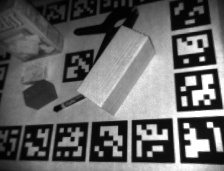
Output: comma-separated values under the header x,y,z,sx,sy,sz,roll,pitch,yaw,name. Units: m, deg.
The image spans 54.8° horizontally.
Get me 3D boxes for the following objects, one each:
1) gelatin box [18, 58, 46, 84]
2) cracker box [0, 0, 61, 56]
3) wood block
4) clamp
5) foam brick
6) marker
x,y,z,sx,sy,sz,roll,pitch,yaw,name
-0.261,-0.047,0.704,0.088,0.030,0.073,-6,73,20,gelatin box
-0.280,-0.172,0.641,0.163,0.216,0.072,-8,69,18,cracker box
-0.003,-0.033,0.565,0.089,0.092,0.206,33,84,30,wood block
-0.023,-0.166,0.643,0.202,0.037,0.164,-34,65,9,clamp
-0.232,0.024,0.654,0.078,0.052,0.052,-29,66,11,foam brick
-0.145,0.051,0.628,0.120,0.020,0.019,-24,67,13,marker
